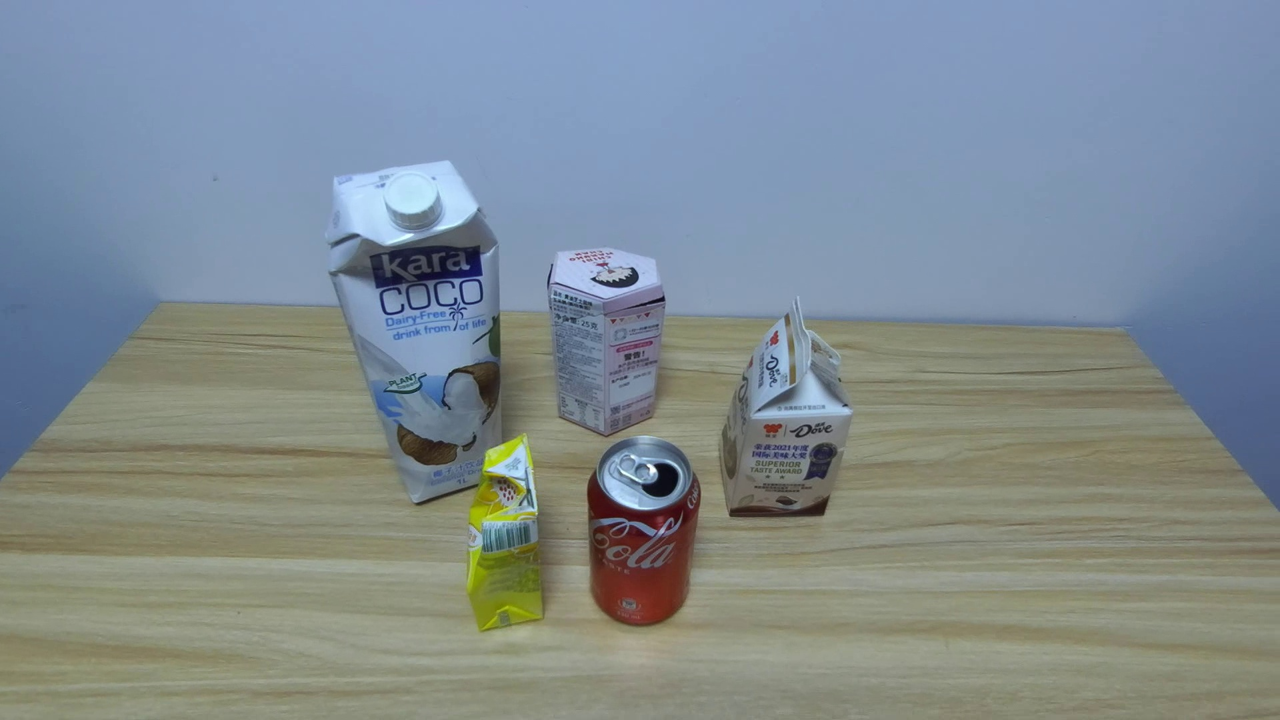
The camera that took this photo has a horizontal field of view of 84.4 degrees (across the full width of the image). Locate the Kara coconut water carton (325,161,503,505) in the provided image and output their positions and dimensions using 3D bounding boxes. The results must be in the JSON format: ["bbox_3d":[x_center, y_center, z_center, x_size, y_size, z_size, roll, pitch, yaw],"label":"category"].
[{"bbox_3d":[-0.139,-0.015,0.475,0.100,0.244,0.071,-18,44,-21],"label":"Kara coconut water carton"}]

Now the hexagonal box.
[{"bbox_3d":[-0.027,-0.016,0.563,0.092,0.135,0.084,-20,45,-23],"label":"hexagonal box"}]

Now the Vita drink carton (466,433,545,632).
[{"bbox_3d":[-0.087,0.108,0.439,0.046,0.110,0.071,-6,40,-12],"label":"Vita drink carton"}]

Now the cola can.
[{"bbox_3d":[0.002,0.106,0.438,0.068,0.120,0.067,1,41,-1],"label":"cola can"}]

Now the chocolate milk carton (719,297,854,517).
[{"bbox_3d":[0.103,0.033,0.496,0.073,0.155,0.084,1,40,-2],"label":"chocolate milk carton"}]
